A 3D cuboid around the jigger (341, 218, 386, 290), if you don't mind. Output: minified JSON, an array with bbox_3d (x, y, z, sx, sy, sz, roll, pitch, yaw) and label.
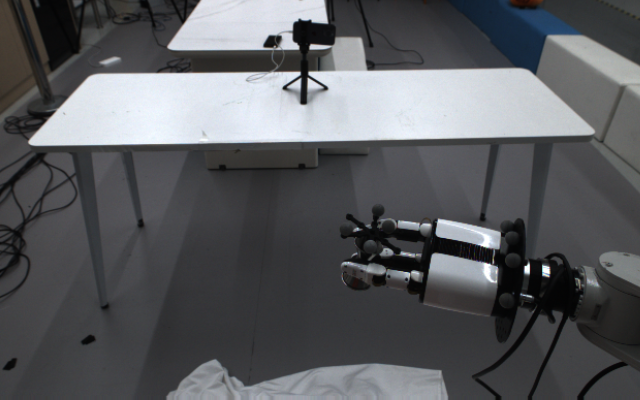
[{"bbox_3d":[0.057,0.083,0.657,0.043,0.071,0.043,10,36,-7],"label":"jigger"}]
